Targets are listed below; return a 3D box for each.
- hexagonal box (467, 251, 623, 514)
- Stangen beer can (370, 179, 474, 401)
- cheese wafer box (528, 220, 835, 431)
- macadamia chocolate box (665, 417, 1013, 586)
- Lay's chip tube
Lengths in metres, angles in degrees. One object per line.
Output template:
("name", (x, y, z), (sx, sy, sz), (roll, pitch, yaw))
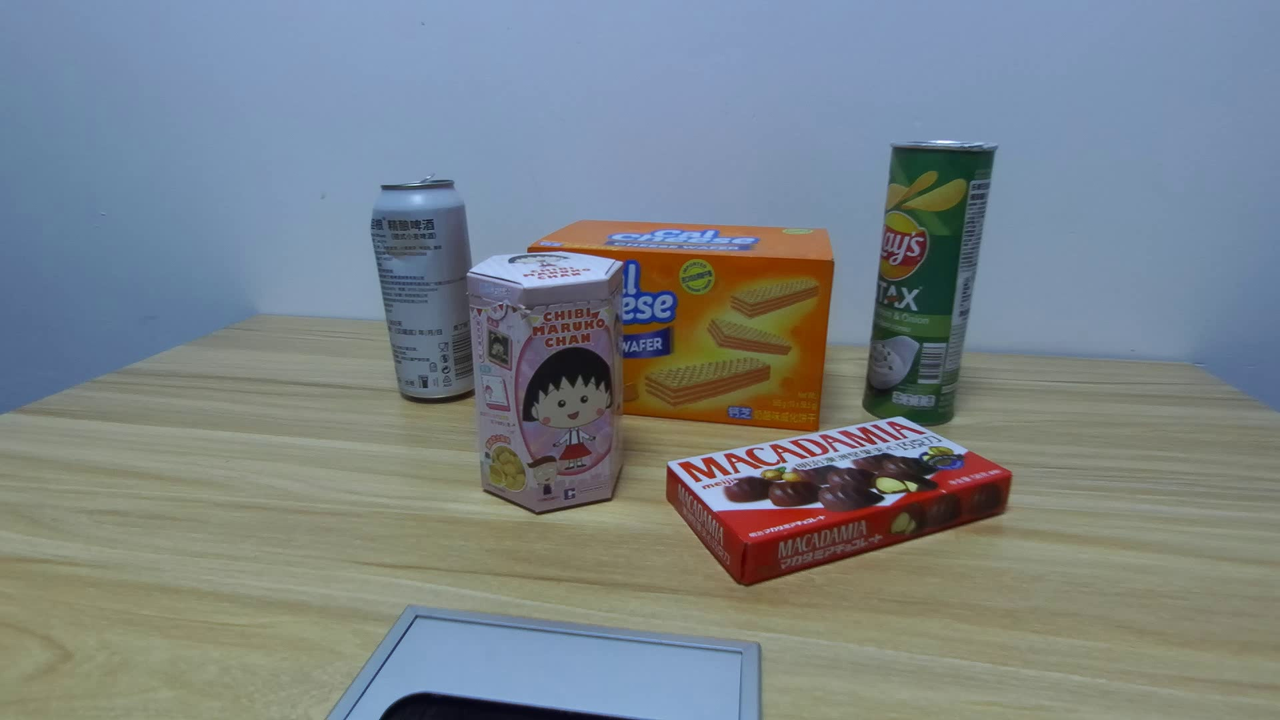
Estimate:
("hexagonal box", (-0.052, 0.011, 0.420), (0.091, 0.136, 0.083), (-8, 20, -21))
("Stangen beer can", (-0.167, -0.056, 0.560), (0.070, 0.173, 0.069), (-2, 17, -4))
("cheese wafer box", (0.039, -0.037, 0.575), (0.221, 0.129, 0.148), (5, 20, 10))
("macadamia chocolate box", (0.113, 0.074, 0.410), (0.178, 0.027, 0.095), (-7, 20, -21))
("Lay's chip tube", (0.211, -0.056, 0.522), (0.071, 0.202, 0.071), (0, 18, 0))
